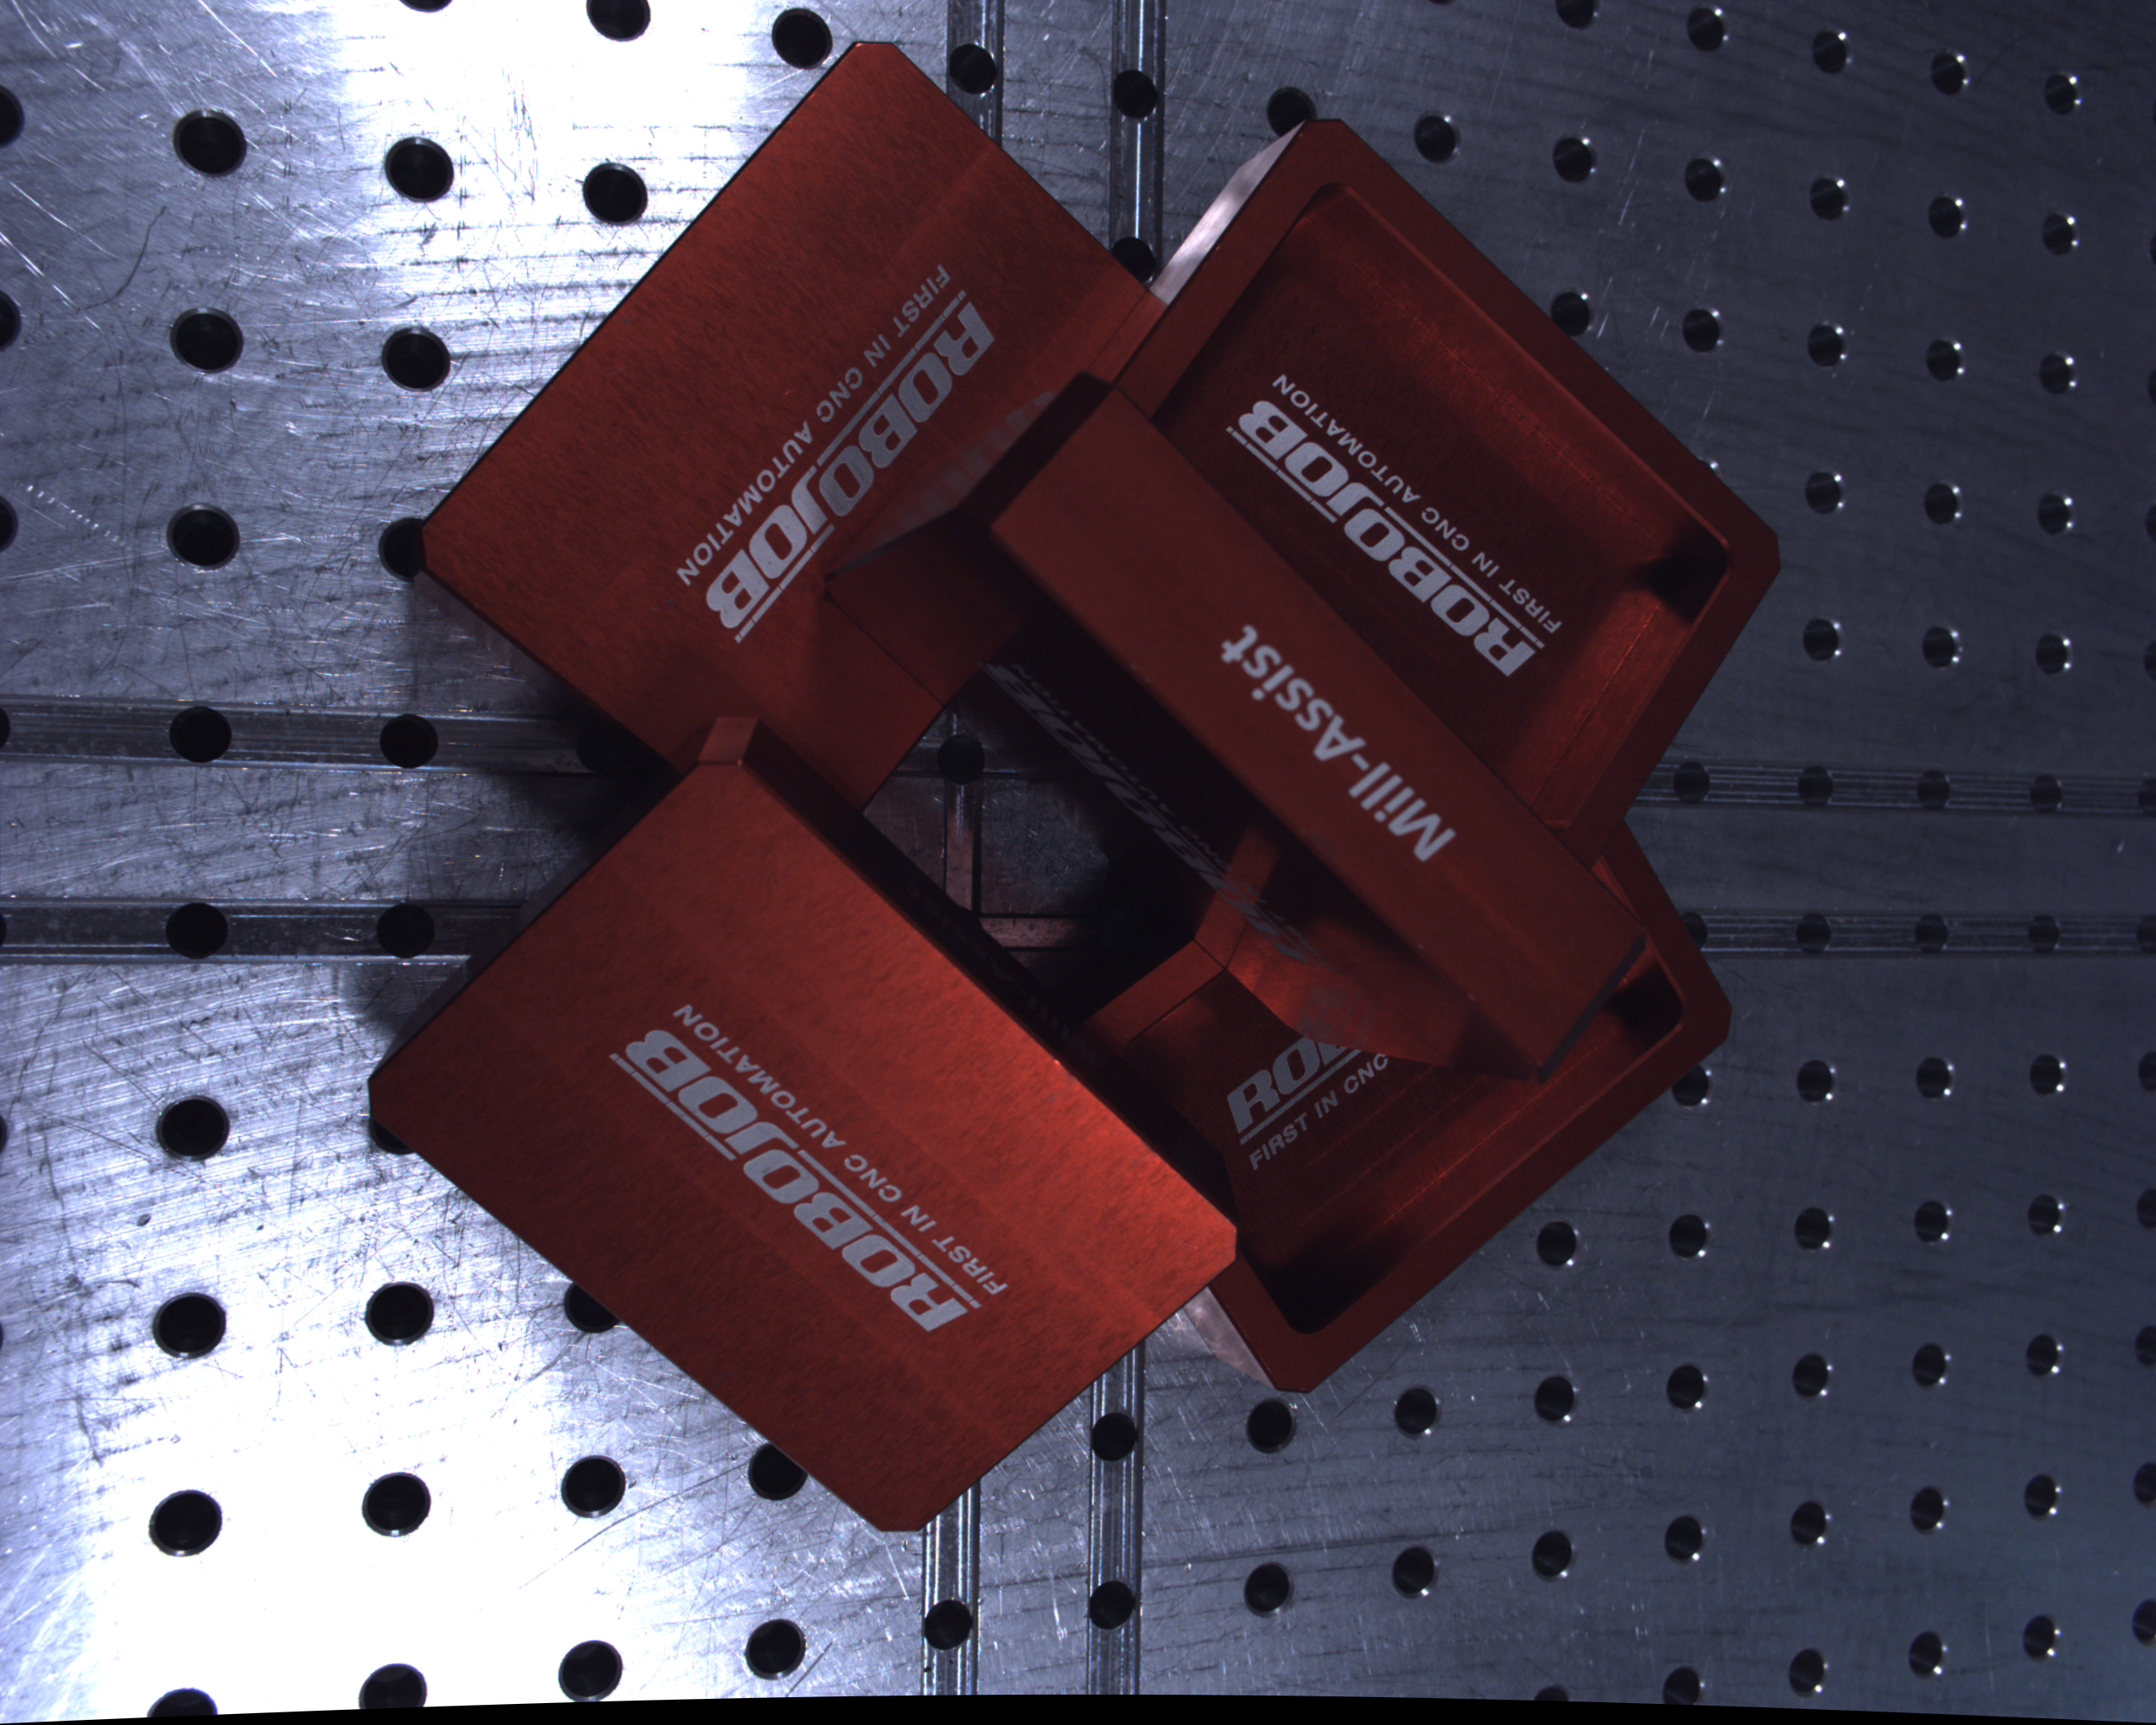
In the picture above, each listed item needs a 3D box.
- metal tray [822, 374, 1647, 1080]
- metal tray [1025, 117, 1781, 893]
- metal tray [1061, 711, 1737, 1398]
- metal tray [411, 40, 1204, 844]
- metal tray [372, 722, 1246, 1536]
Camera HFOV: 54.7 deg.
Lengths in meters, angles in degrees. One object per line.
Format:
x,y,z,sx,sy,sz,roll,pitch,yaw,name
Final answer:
0.023,-0.019,0.355,0.130,0.090,0.030,42,77,-16,metal tray
0.064,-0.065,0.402,0.130,0.030,0.090,38,78,-17,metal tray
0.065,0.035,0.434,0.131,0.030,0.090,-35,102,-17,metal tray
-0.048,-0.075,0.392,0.090,0.030,0.130,41,77,-16,metal tray
-0.045,0.050,0.374,0.090,0.030,0.130,-43,105,11,metal tray
